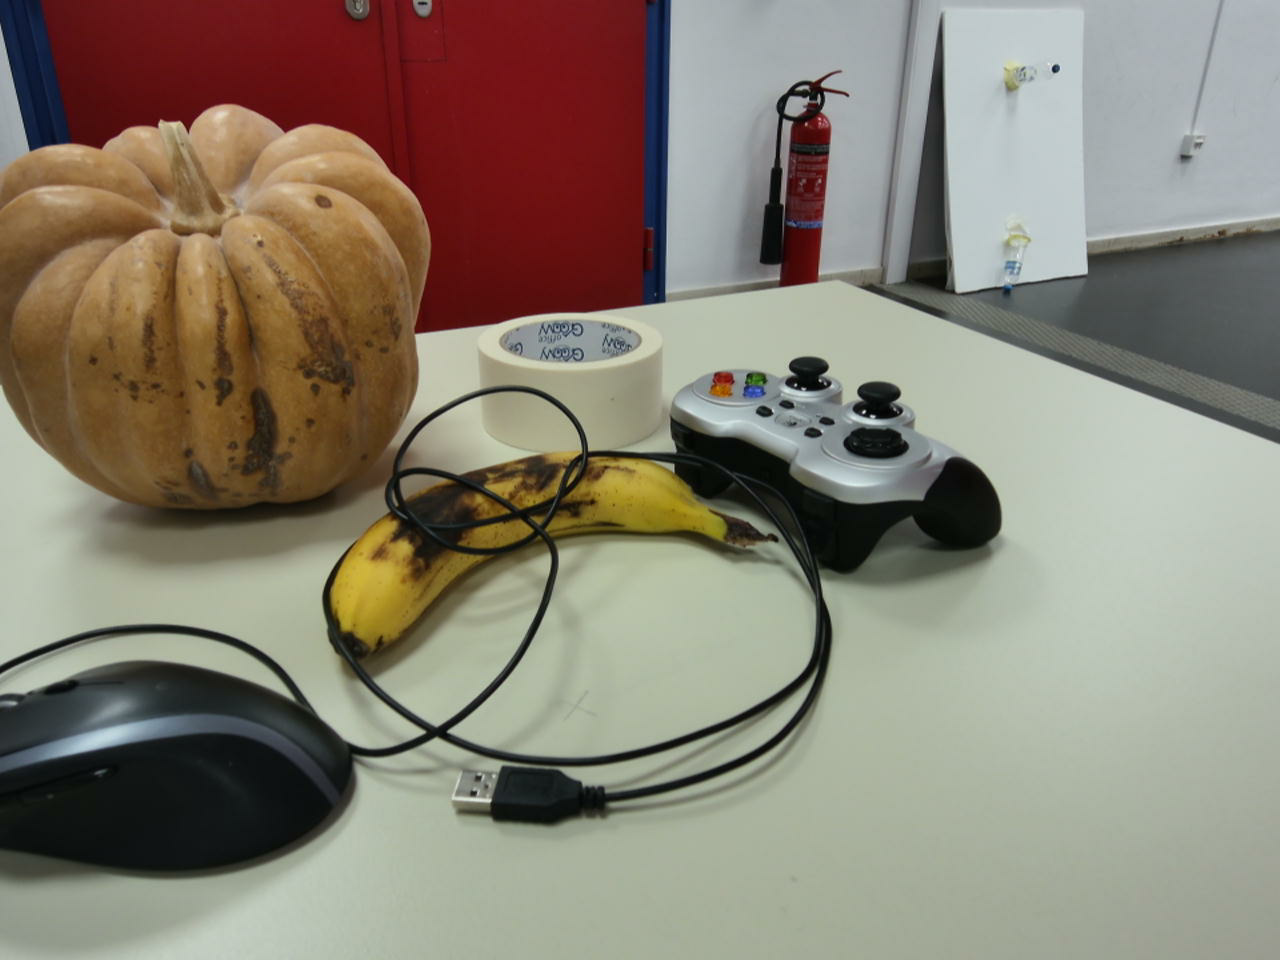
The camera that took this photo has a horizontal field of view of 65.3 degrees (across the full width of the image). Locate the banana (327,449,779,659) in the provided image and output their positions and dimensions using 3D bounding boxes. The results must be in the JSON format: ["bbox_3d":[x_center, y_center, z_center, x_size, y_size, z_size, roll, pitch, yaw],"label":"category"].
[{"bbox_3d":[-0.047,0.021,0.425,0.187,0.039,0.094,-12,27,-26],"label":"banana"}]
